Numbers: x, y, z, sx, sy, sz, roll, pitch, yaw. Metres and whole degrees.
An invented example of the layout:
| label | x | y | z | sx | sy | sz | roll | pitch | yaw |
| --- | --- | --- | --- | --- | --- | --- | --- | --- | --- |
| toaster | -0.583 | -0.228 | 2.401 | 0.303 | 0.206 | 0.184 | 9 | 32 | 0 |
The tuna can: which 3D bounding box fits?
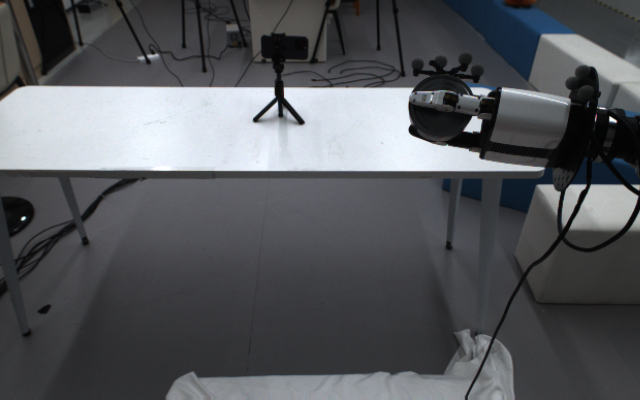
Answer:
| label | x | y | z | sx | sy | sz | roll | pitch | yaw |
| --- | --- | --- | --- | --- | --- | --- | --- | --- | --- |
| tuna can | 0.162 | -0.128 | 0.653 | 0.085 | 0.085 | 0.034 | 11 | -7 | 12 |
